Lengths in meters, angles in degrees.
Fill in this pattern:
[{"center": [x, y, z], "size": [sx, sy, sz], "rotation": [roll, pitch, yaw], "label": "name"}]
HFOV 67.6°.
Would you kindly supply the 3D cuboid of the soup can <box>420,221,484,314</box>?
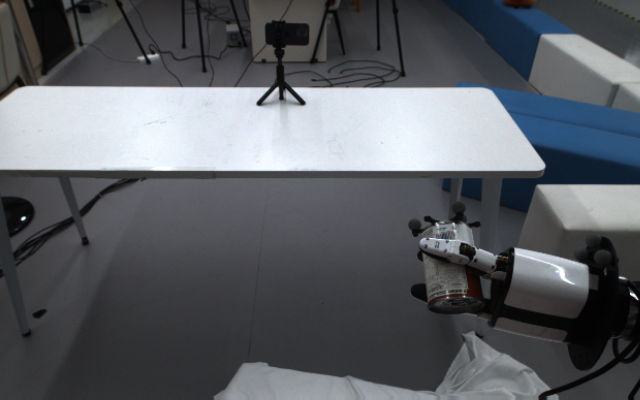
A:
[{"center": [0.168, 0.085, 0.613], "size": [0.067, 0.067, 0.101], "rotation": [0, 62, -2], "label": "soup can"}]
